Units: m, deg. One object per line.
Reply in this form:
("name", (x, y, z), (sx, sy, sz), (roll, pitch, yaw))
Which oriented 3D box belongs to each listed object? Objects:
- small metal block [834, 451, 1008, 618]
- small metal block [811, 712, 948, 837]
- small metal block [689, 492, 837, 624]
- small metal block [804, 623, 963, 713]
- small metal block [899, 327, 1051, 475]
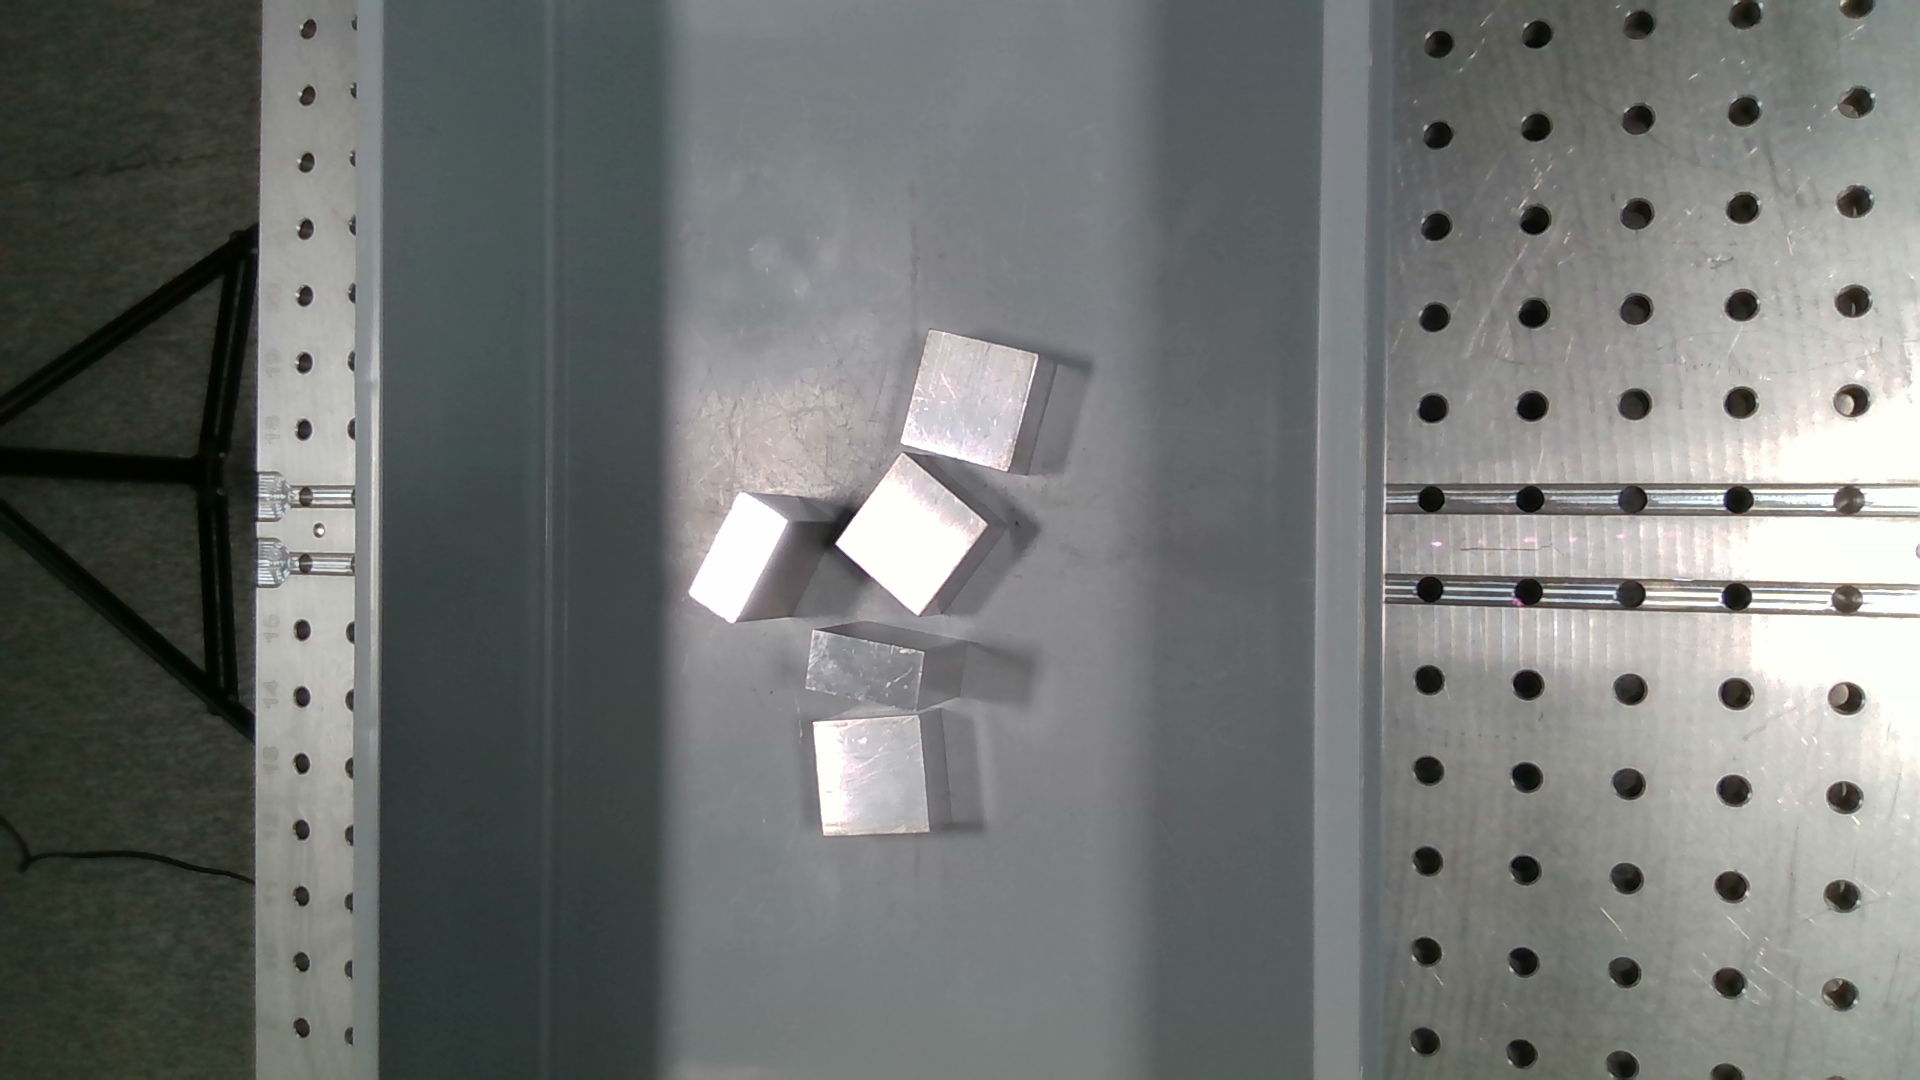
("small metal block", (-0.017, -0.002, 0.589), (0.050, 0.025, 0.050), (40, 103, 15))
("small metal block", (-0.034, 0.101, 0.597), (0.050, 0.025, 0.050), (-6, 88, 20))
("small metal block", (-0.085, 0.007, 0.602), (0.025, 0.050, 0.050), (32, 102, 18))
("small metal block", (-0.031, 0.053, 0.583), (0.050, 0.050, 0.025), (10, 94, 20))
("small metal block", (0.007, -0.058, 0.580), (0.050, 0.025, 0.050), (16, 96, 19))
